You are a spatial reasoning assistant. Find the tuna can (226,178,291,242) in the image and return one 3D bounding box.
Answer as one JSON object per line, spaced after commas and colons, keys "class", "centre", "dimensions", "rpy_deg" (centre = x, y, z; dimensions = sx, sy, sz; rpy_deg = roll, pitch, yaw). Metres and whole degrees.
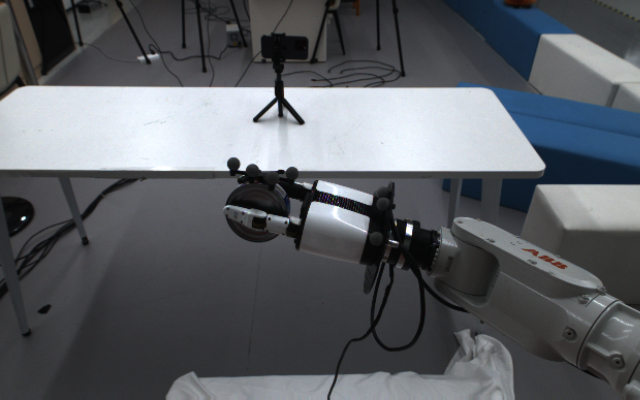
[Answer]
{"class": "tuna can", "centre": [-0.083, 0.012, 0.663], "dimensions": [0.085, 0.085, 0.034], "rpy_deg": [5, 18, 5]}
